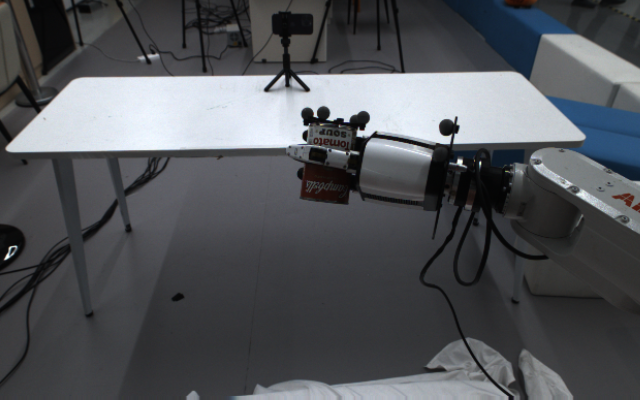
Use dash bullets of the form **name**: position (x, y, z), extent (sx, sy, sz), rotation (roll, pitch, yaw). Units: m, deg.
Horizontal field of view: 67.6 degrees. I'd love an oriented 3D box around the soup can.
- **soup can**: position (0.013, -0.048, 0.653), extent (0.067, 0.101, 0.067), rotation (7, 3, 0)
